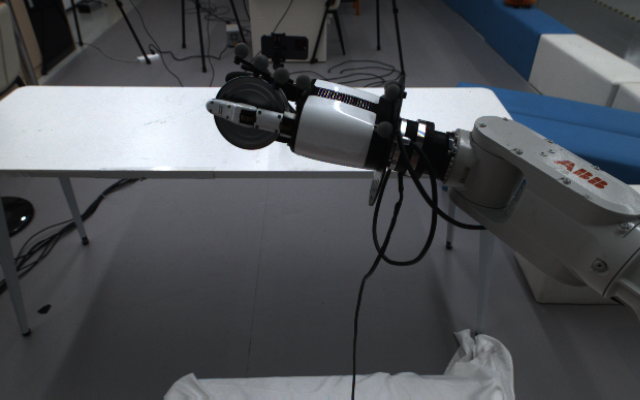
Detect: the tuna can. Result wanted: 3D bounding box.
[{"bbox_3d":[-0.079,-0.106,0.576,0.085,0.085,0.034,7,17,6],"label":"tuna can"}]
